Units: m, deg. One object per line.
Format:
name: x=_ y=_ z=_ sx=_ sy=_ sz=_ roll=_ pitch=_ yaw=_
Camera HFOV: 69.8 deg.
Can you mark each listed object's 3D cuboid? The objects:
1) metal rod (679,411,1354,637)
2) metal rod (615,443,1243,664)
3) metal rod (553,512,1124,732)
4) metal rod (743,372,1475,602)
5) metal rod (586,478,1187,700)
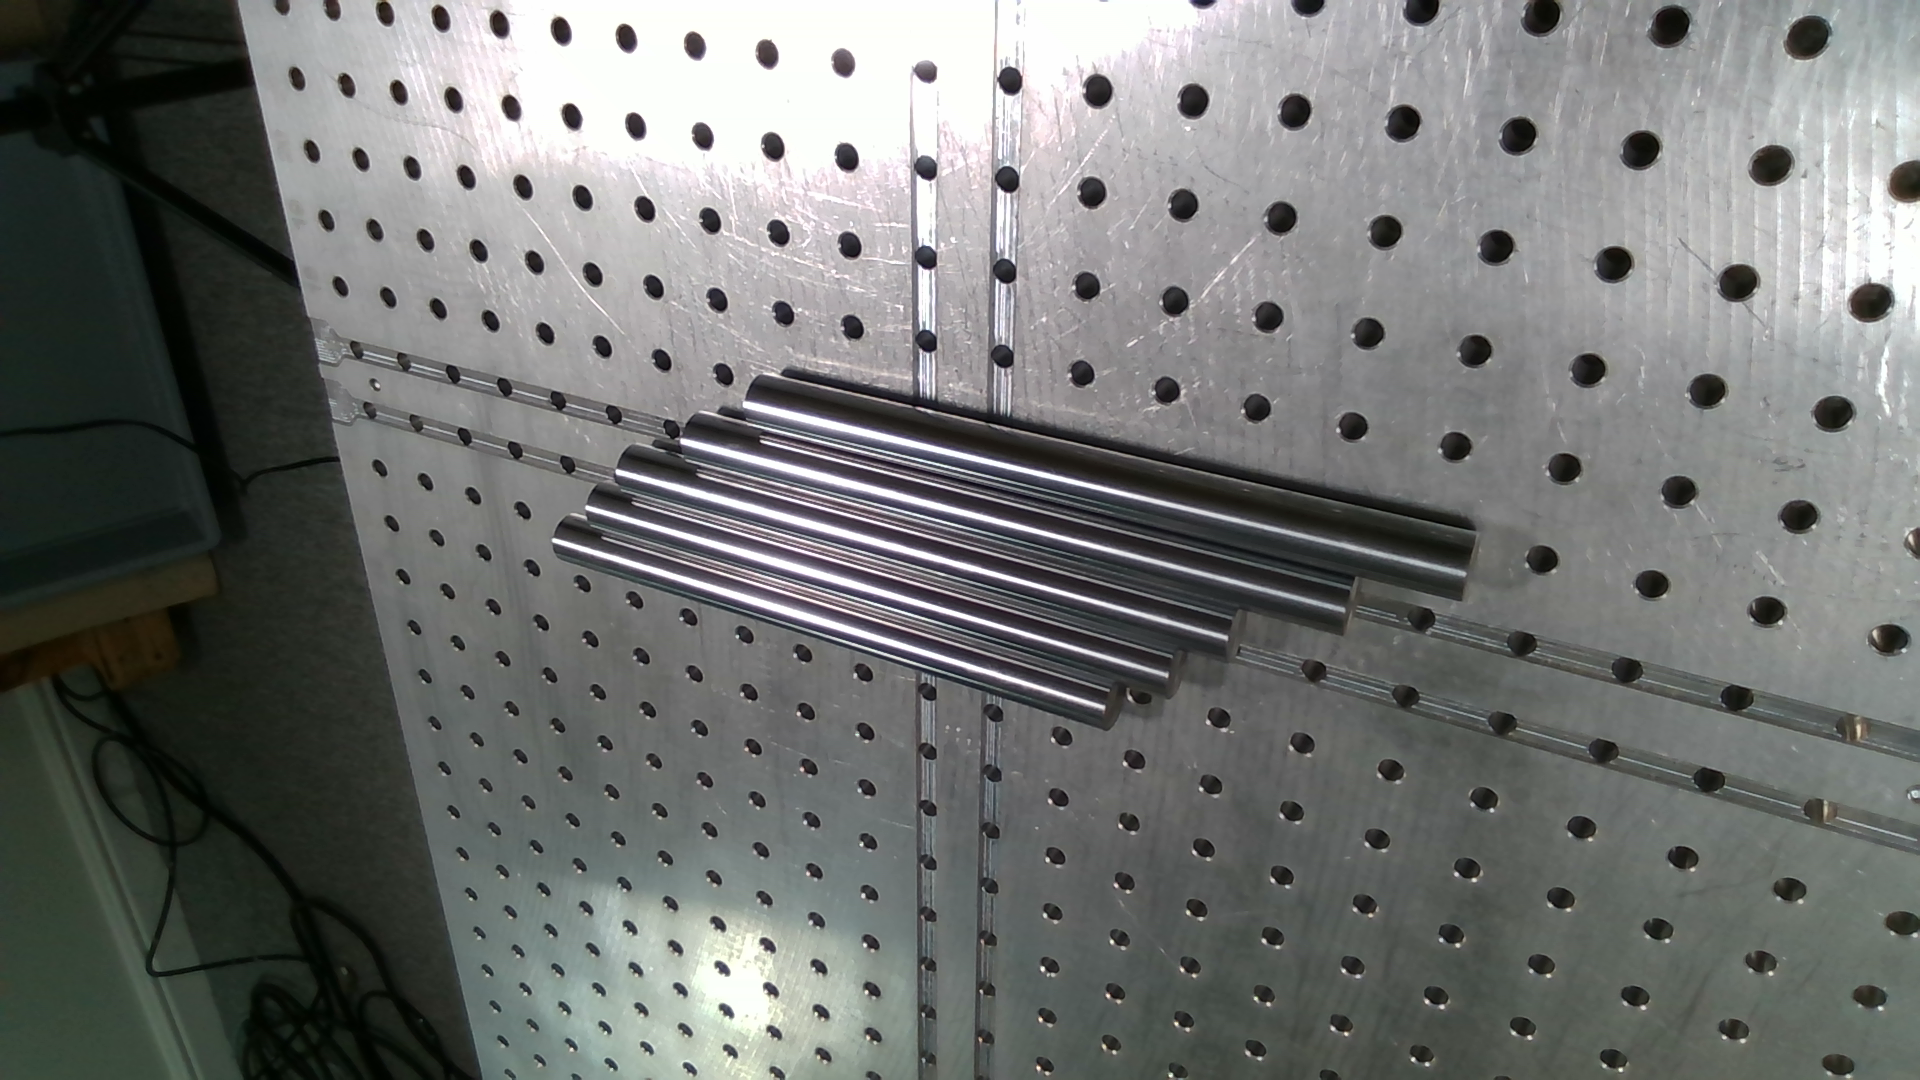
metal rod: x=0.011 y=-0.012 z=0.568 sx=0.300 sy=0.025 sz=0.025 roll=15 pitch=122 yaw=24
metal rod: x=-0.025 y=0.001 z=0.598 sx=0.300 sy=0.025 sz=0.025 roll=15 pitch=122 yaw=24
metal rod: x=-0.067 y=0.034 z=0.641 sx=0.300 sy=0.025 sz=0.025 roll=15 pitch=122 yaw=24
metal rod: x=0.045 y=-0.026 z=0.541 sx=0.300 sy=0.025 sz=0.025 roll=15 pitch=122 yaw=24
metal rod: x=-0.044 y=0.017 z=0.619 sx=0.300 sy=0.025 sz=0.025 roll=15 pitch=122 yaw=24
